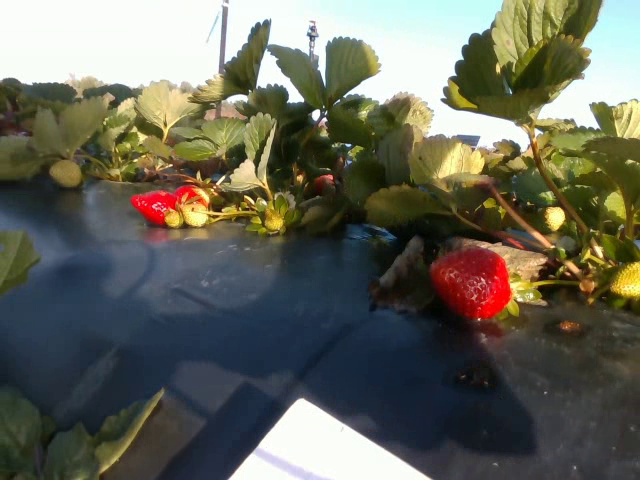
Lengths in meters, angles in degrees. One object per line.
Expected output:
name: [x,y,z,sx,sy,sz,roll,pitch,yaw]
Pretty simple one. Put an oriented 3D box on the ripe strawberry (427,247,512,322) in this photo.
ripe strawberry: [0.059,0.017,0.266,0.054,0.038,0.047,8,23,-30]
